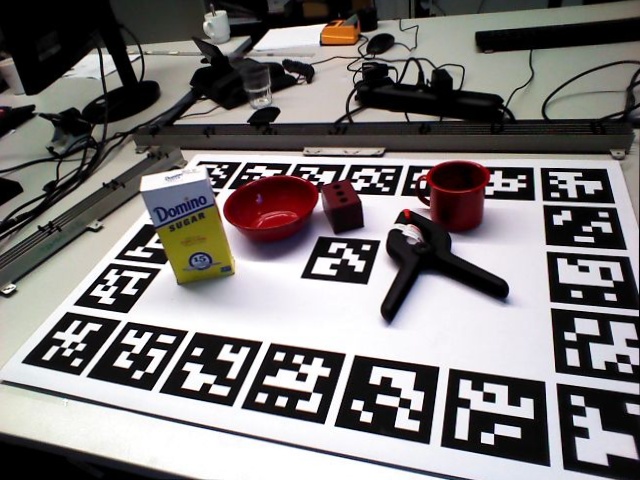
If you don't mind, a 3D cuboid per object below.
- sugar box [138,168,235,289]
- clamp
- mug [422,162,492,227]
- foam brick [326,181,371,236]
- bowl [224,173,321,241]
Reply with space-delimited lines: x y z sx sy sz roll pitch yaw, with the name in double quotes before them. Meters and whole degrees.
"sugar box" -0.188 -0.012 0.750 0.093 0.177 0.045 -12 41 -3
"clamp" 0.150 0.015 0.733 0.166 0.037 0.202 -14 40 0
"mug" 0.211 -0.079 0.804 0.117 0.082 0.092 26 51 33
"foam brick" 0.045 -0.053 0.850 0.053 0.051 0.078 -15 40 -3
"bowl" -0.074 -0.047 0.861 0.162 0.055 0.161 -6 39 5
